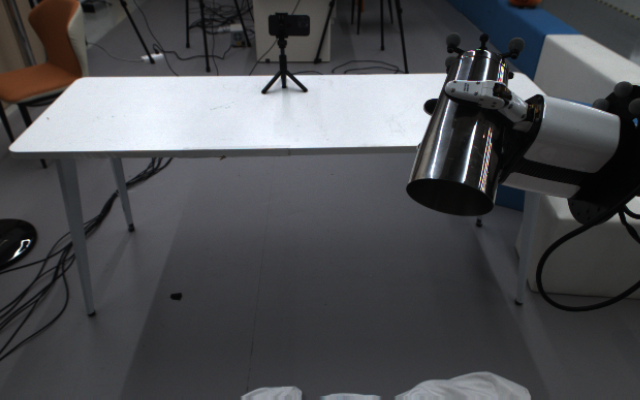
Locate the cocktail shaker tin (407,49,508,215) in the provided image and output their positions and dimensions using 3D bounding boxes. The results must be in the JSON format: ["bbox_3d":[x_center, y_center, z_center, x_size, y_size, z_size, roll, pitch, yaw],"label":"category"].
[{"bbox_3d":[0.162,-0.078,0.536,0.093,0.093,0.170,13,70,15],"label":"cocktail shaker tin"}]
